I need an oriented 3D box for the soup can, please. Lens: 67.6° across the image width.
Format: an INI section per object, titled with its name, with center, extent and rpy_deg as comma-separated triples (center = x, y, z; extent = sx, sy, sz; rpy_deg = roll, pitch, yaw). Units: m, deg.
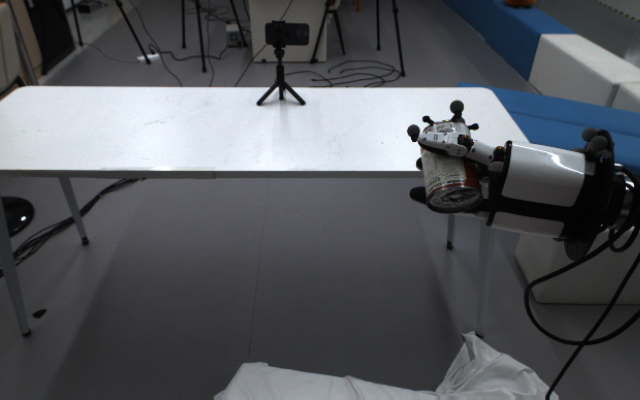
[soup can]
center = 0.166, -0.043, 0.623
extent = 0.067, 0.067, 0.101
rpy_deg = 1, 62, -2
